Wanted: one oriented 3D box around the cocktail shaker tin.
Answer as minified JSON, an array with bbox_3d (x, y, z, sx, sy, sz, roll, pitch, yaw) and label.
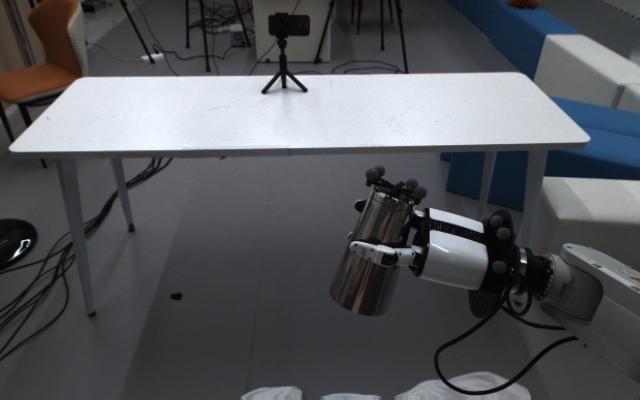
[{"bbox_3d":[0.081,0.067,0.696,0.093,0.170,0.093,15,17,-5],"label":"cocktail shaker tin"}]
